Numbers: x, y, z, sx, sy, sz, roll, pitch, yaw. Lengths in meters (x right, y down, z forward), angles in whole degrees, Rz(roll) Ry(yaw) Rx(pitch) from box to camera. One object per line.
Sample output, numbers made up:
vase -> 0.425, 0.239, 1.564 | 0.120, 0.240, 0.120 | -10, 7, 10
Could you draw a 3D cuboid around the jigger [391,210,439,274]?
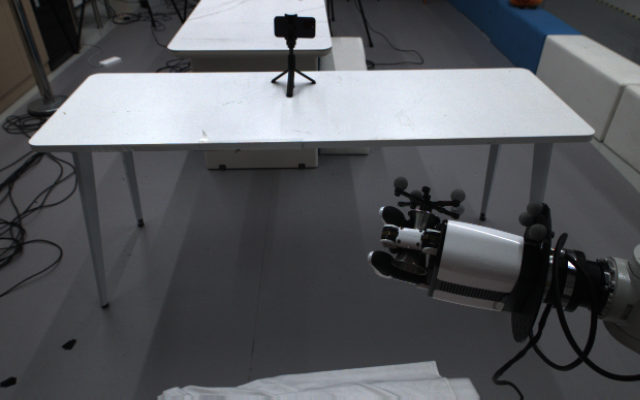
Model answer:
jigger -> 0.120, 0.050, 0.582 | 0.043, 0.043, 0.071 | 13, 69, 15
